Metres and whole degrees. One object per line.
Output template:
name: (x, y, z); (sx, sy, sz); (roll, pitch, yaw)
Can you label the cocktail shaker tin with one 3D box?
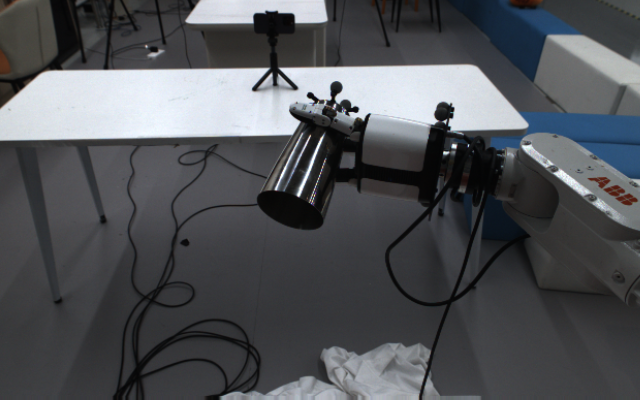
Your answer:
cocktail shaker tin: (-0.012, -0.058, 0.666); (0.093, 0.093, 0.170); (13, 59, 16)
